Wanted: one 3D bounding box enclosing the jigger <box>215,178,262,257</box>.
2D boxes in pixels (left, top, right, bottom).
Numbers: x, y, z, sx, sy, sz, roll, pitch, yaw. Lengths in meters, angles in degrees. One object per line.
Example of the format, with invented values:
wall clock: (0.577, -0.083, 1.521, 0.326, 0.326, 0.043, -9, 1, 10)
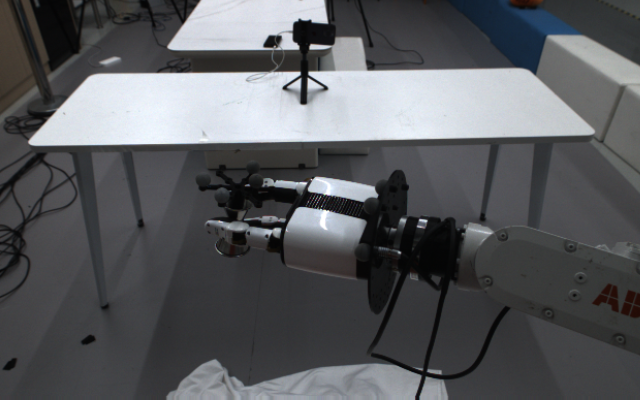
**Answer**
jigger: (-0.104, 0.029, 0.590, 0.043, 0.071, 0.043, 9, 30, -5)
